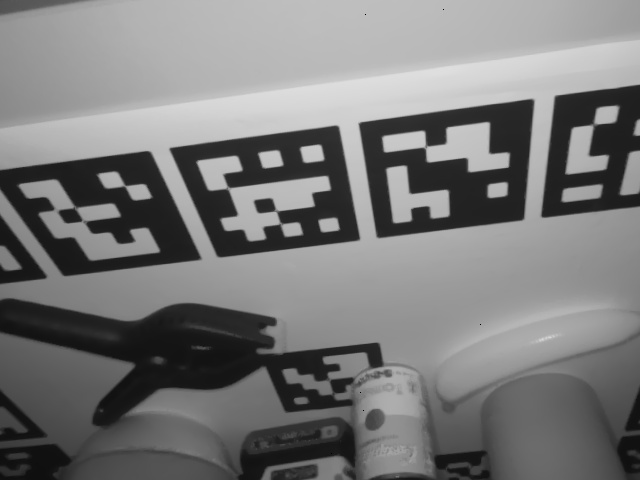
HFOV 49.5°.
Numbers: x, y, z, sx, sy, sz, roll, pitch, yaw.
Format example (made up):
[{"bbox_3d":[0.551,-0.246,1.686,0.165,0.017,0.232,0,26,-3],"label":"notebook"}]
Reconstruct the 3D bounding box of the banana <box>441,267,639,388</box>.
[{"bbox_3d":[0.169,0.064,0.542,0.195,0.039,0.075,-31,135,26],"label":"banana"}]

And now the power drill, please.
[{"bbox_3d":[-0.025,0.281,0.602,0.183,0.188,0.057,-15,132,12],"label":"power drill"}]

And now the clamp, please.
[{"bbox_3d":[-0.131,0.081,0.528,0.202,0.037,0.165,-14,128,10],"label":"clamp"}]

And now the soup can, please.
[{"bbox_3d":[0.063,0.147,0.567,0.068,0.103,0.067,-4,141,-2],"label":"soup can"}]

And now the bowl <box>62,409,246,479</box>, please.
[{"bbox_3d":[-0.147,0.205,0.639,0.162,0.055,0.160,-2,132,-1],"label":"bowl"}]

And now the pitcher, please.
[{"bbox_3d":[0.197,0.214,0.541,0.186,0.244,0.134,-31,130,24],"label":"pitcher"}]
